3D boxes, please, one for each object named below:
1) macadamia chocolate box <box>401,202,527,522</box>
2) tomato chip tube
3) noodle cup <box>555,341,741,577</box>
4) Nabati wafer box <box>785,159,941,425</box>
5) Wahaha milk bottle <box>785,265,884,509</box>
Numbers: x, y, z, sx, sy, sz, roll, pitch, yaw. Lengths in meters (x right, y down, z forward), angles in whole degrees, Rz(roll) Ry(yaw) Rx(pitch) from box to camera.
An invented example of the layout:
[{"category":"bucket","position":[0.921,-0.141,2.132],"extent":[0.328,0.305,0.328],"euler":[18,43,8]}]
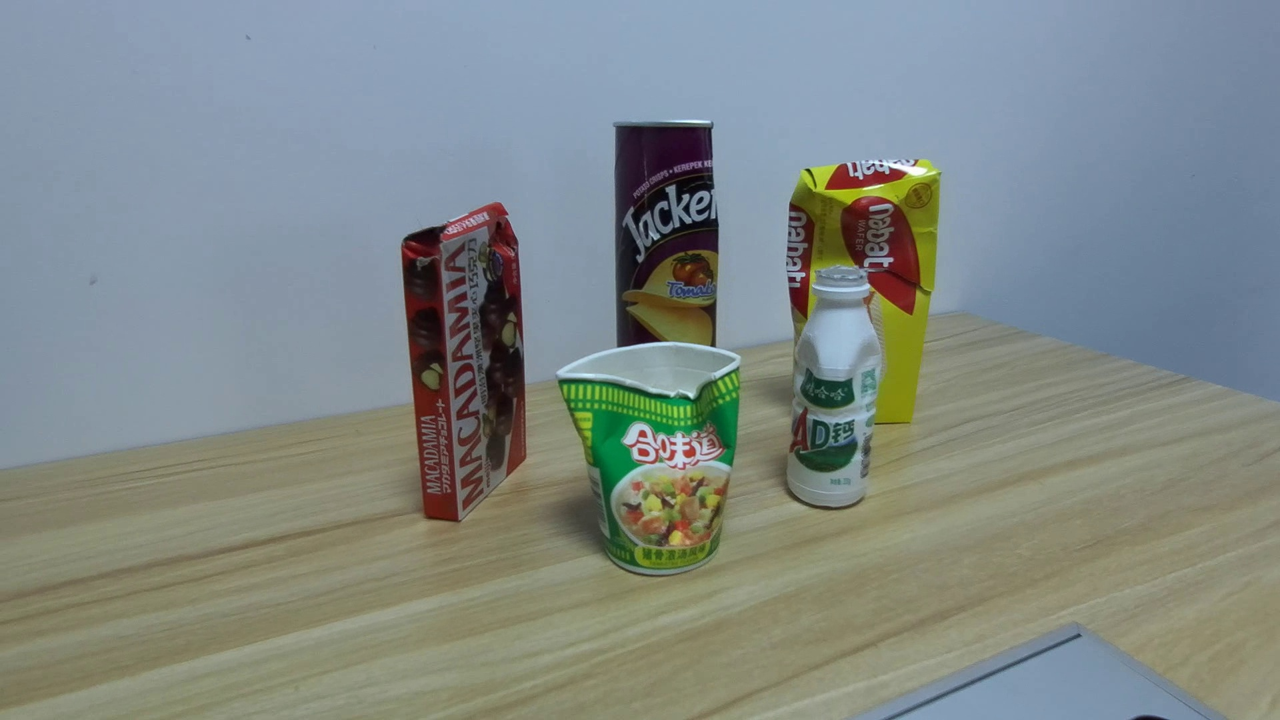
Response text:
[{"category":"macadamia chocolate box","position":[-0.106,-0.001,0.454],"extent":[0.027,0.187,0.103],"euler":[8,21,16]},{"category":"tomato chip tube","position":[0.020,-0.046,0.506],"extent":[0.076,0.235,0.078],"euler":[1,15,9]},{"category":"noodle cup","position":[0.014,0.054,0.398],"extent":[0.082,0.122,0.075],"euler":[-1,10,30]},{"category":"Nabati wafer box","position":[0.166,-0.048,0.543],"extent":[0.107,0.204,0.042],"euler":[-2,20,-4]},{"category":"Wahaha milk bottle","position":[0.119,0.017,0.439],"extent":[0.055,0.149,0.055],"euler":[-1,20,1]}]
